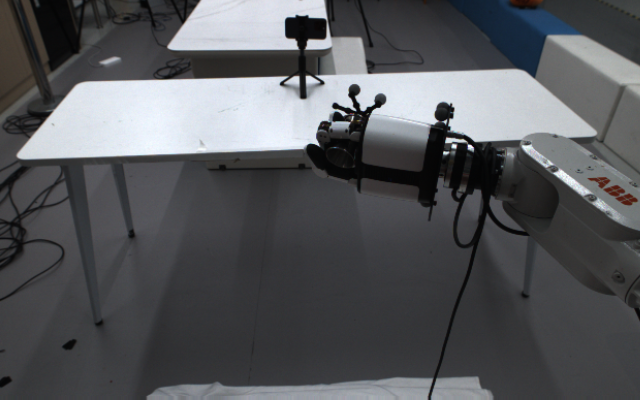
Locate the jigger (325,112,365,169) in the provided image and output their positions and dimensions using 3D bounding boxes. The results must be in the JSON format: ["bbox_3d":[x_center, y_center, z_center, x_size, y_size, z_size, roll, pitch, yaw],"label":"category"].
[{"bbox_3d":[0.041,-0.088,0.683,0.043,0.043,0.071,15,58,18],"label":"jigger"}]
